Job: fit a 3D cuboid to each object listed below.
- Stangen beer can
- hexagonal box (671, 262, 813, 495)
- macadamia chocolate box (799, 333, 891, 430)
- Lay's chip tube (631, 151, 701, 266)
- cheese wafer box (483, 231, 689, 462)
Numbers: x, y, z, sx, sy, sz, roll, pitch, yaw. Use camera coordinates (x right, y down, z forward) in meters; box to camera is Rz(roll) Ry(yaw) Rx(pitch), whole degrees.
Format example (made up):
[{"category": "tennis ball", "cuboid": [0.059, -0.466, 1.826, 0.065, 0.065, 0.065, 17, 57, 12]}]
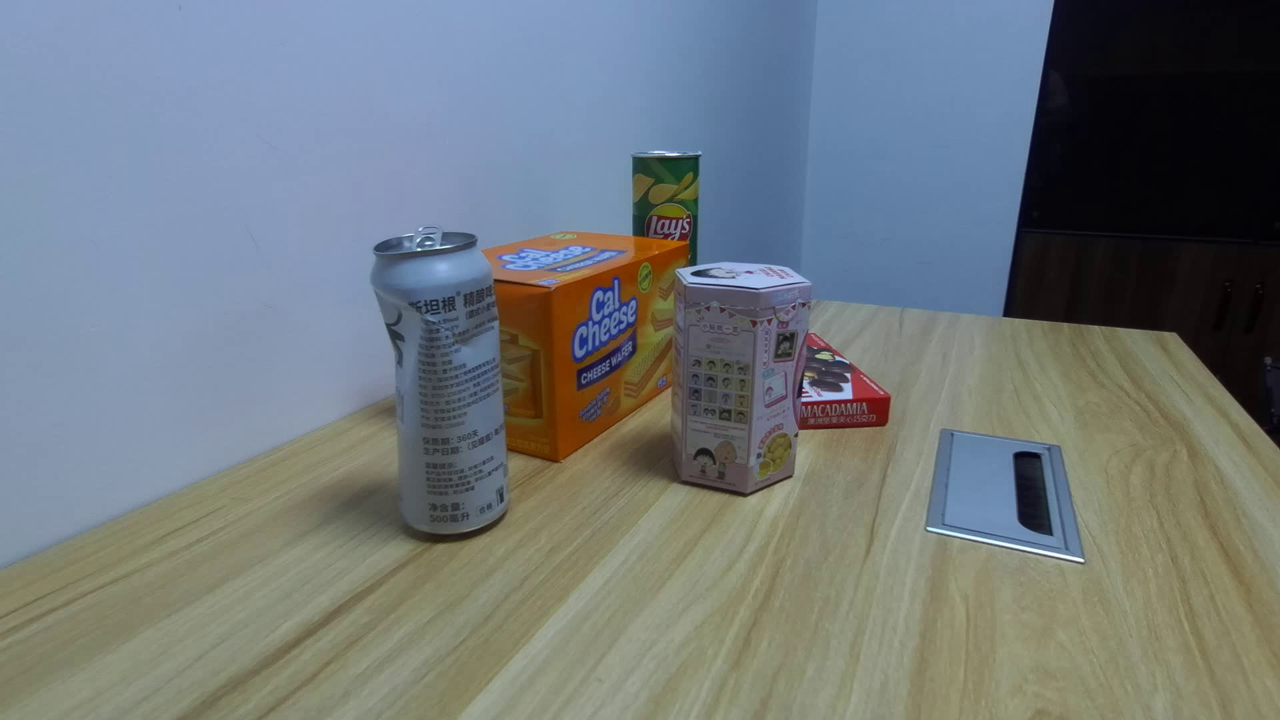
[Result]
[{"category": "Stangen beer can", "cuboid": [-0.115, 0.014, 0.405, 0.069, 0.173, 0.070, 2, 18, 11]}, {"category": "hexagonal box", "cuboid": [0.065, 0.009, 0.468, 0.084, 0.136, 0.091, -3, 19, -6]}, {"category": "macadamia chocolate box", "cuboid": [0.139, 0.014, 0.630, 0.096, 0.027, 0.177, -3, 19, -6]}, {"category": "Lay's chip tube", "cuboid": [0.027, -0.108, 0.725, 0.071, 0.202, 0.071, -1, 16, 1]}, {"category": "cheese wafer box", "cuboid": [-0.067, -0.026, 0.599, 0.147, 0.129, 0.222, 9, 21, 27]}]
